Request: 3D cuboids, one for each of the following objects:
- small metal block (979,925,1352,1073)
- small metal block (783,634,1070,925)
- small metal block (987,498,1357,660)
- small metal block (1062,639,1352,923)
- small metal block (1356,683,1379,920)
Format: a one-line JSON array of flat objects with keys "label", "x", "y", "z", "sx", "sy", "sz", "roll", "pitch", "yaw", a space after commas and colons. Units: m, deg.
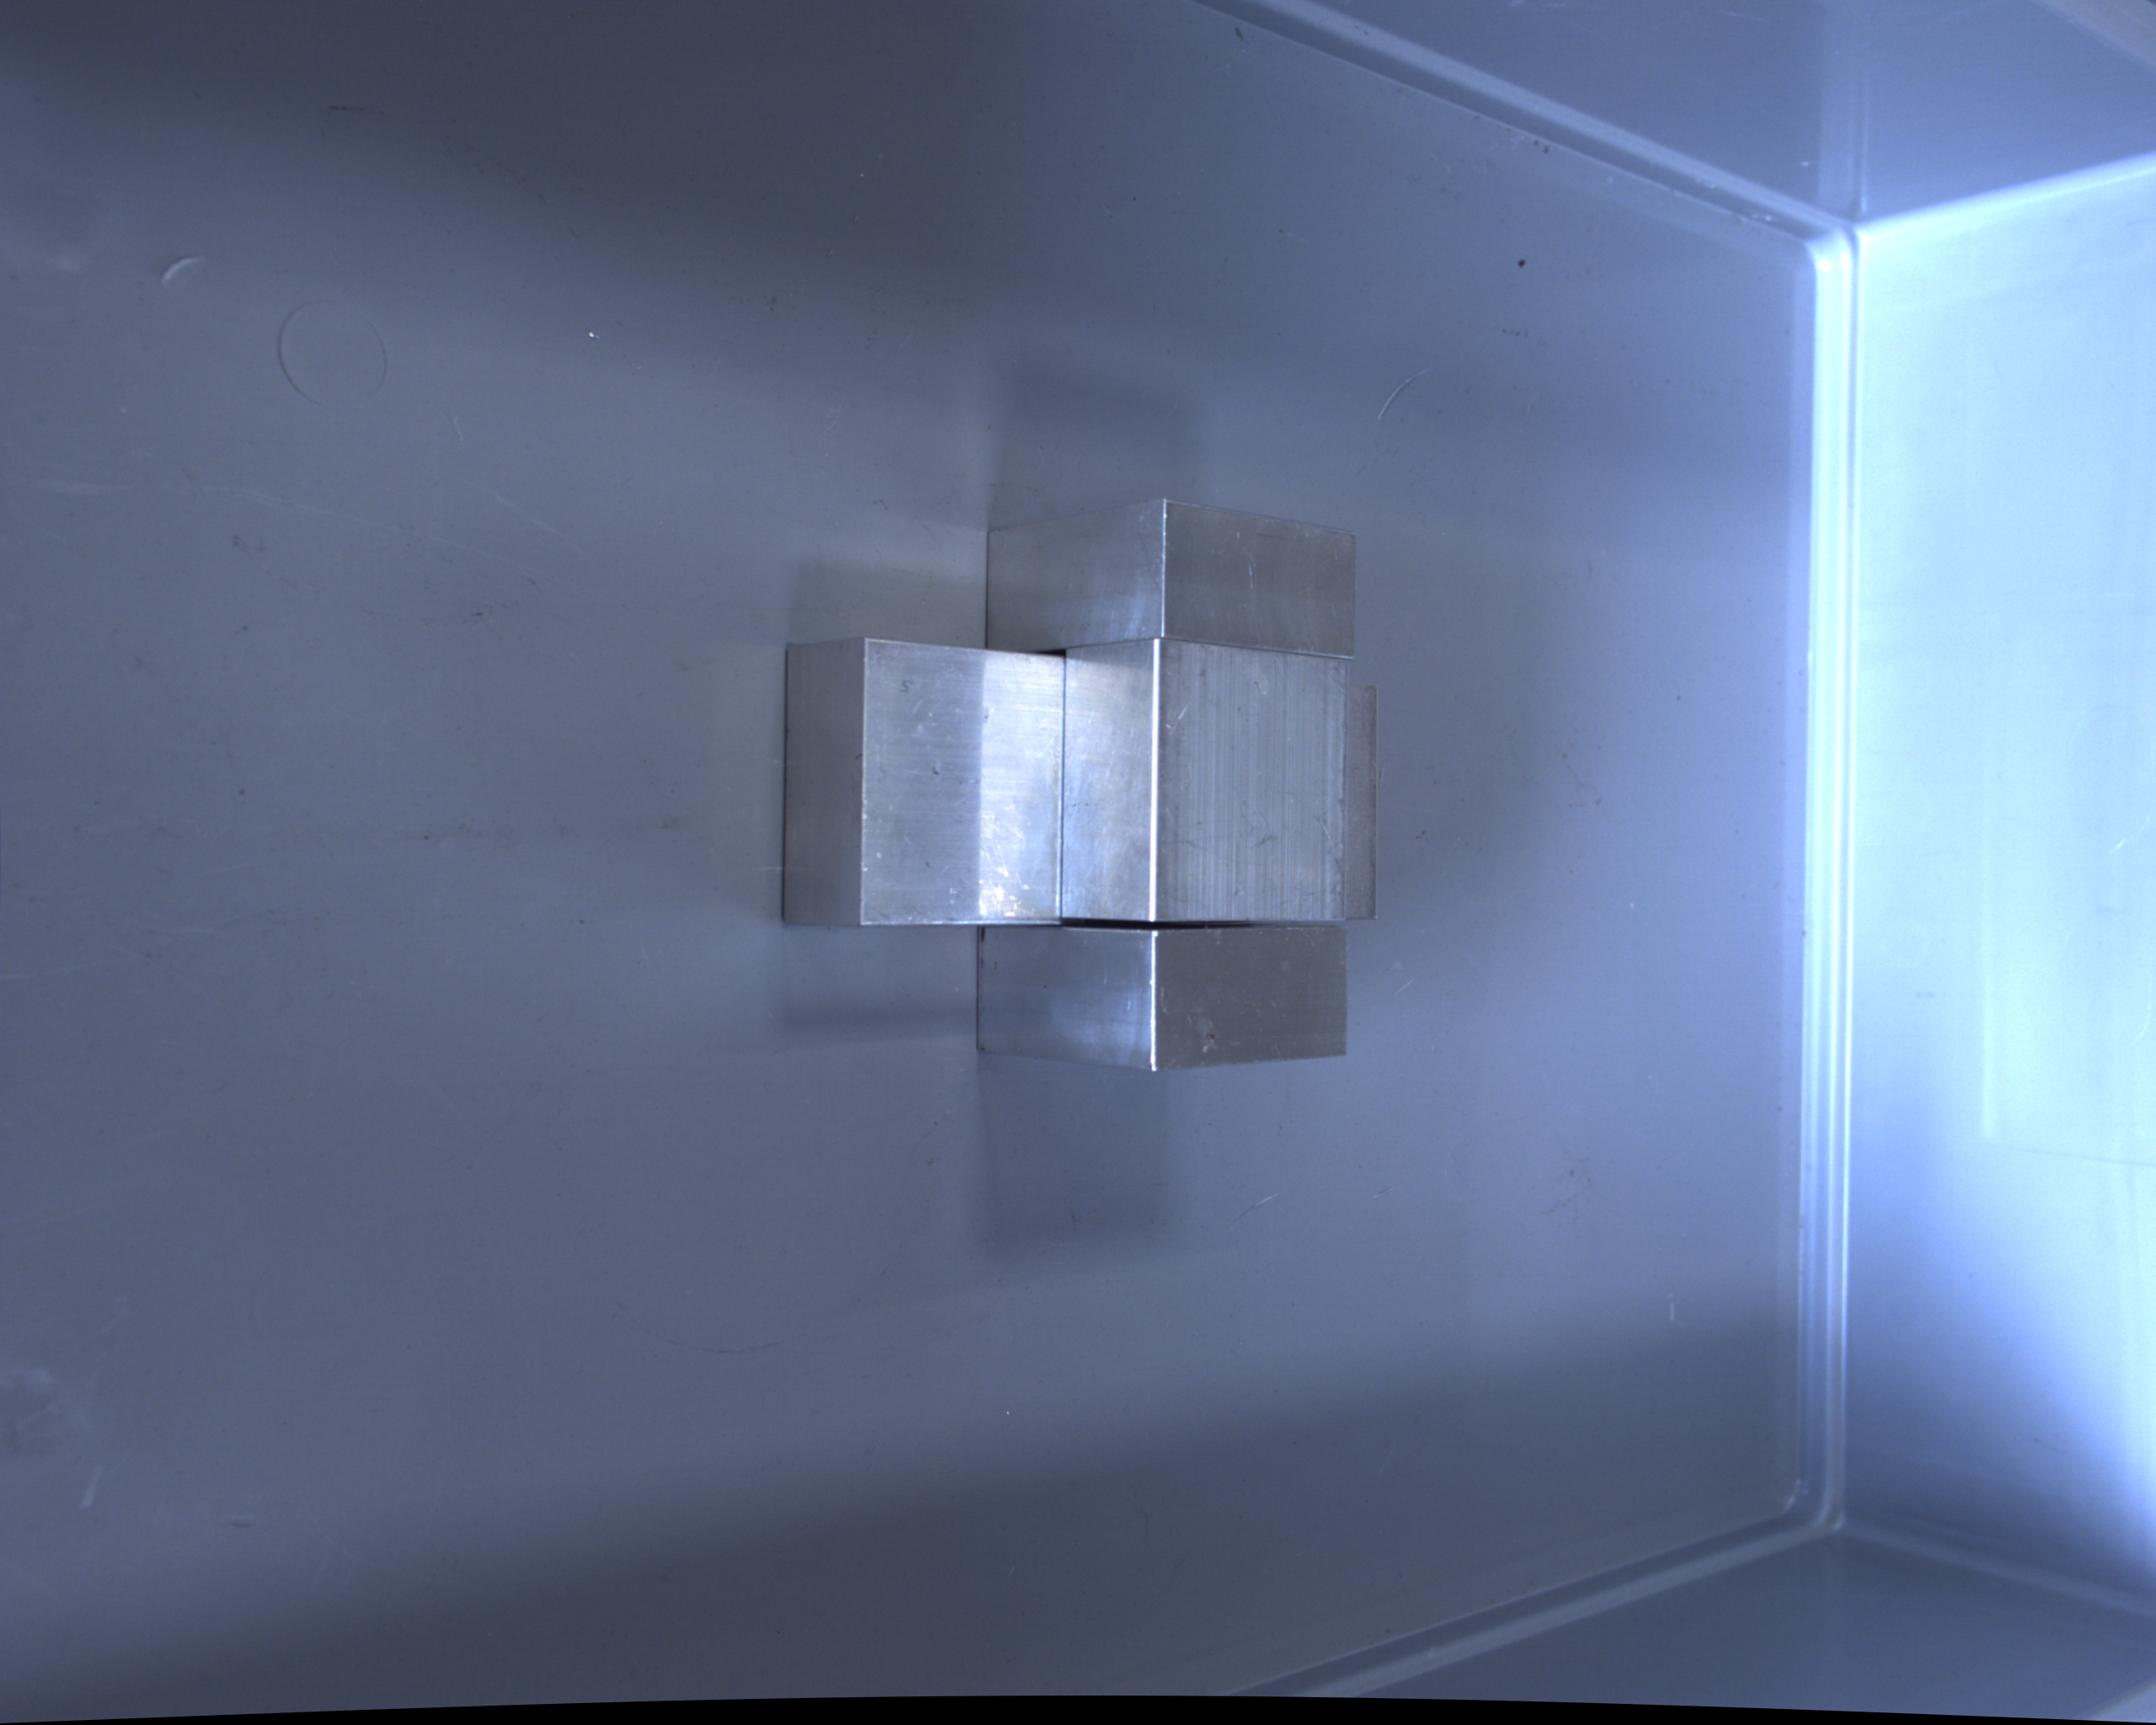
[{"label": "small metal block", "x": 0.017, "y": 0.024, "z": 0.400, "sx": 0.050, "sy": 0.050, "sz": 0.025, "roll": 1, "pitch": 90, "yaw": -40}, {"label": "small metal block", "x": -0.025, "y": -0.014, "z": 0.382, "sx": 0.050, "sy": 0.025, "sz": 0.050, "roll": 1, "pitch": 90, "yaw": -40}, {"label": "small metal block", "x": 0.018, "y": -0.052, "z": 0.402, "sx": 0.050, "sy": 0.050, "sz": 0.025, "roll": 1, "pitch": 90, "yaw": -40}, {"label": "small metal block", "x": 0.025, "y": -0.014, "z": 0.391, "sx": 0.050, "sy": 0.025, "sz": 0.050, "roll": 1, "pitch": 90, "yaw": -40}, {"label": "small metal block", "x": 0.036, "y": -0.013, "z": 0.434, "sx": 0.050, "sy": 0.025, "sz": 0.050, "roll": 1, "pitch": 90, "yaw": -40}]
